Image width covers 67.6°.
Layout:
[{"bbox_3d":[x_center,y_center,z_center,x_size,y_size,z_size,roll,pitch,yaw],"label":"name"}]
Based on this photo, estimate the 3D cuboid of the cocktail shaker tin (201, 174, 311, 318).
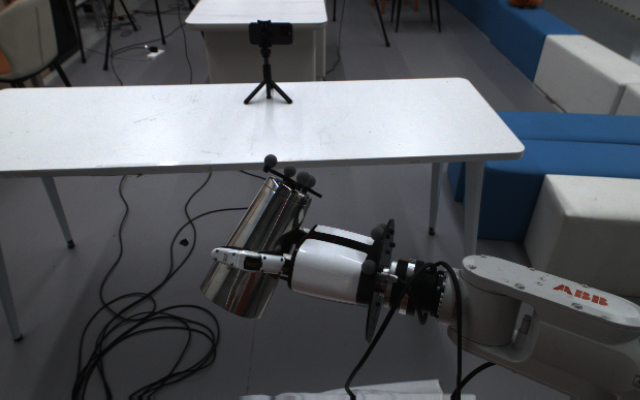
[{"bbox_3d":[-0.077,0.056,0.641,0.093,0.170,0.093,27,2,-1],"label":"cocktail shaker tin"}]
